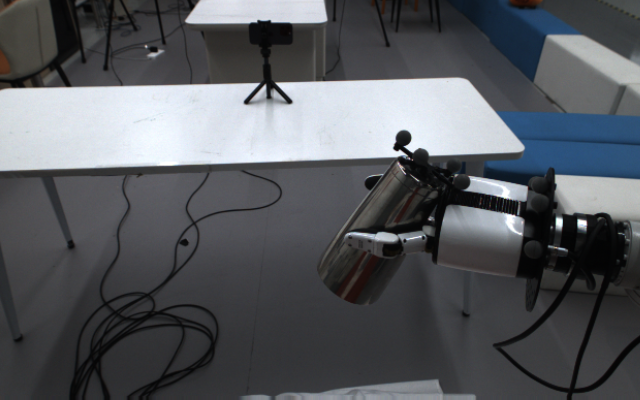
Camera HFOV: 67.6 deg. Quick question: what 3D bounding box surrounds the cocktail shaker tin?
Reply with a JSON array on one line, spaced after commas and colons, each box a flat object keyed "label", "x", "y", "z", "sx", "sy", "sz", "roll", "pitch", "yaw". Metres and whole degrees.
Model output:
[{"label": "cocktail shaker tin", "x": 0.077, "y": 0.030, "z": 0.582, "sx": 0.093, "sy": 0.170, "sz": 0.093, "roll": 25, "pitch": 29, "yaw": -15}]
